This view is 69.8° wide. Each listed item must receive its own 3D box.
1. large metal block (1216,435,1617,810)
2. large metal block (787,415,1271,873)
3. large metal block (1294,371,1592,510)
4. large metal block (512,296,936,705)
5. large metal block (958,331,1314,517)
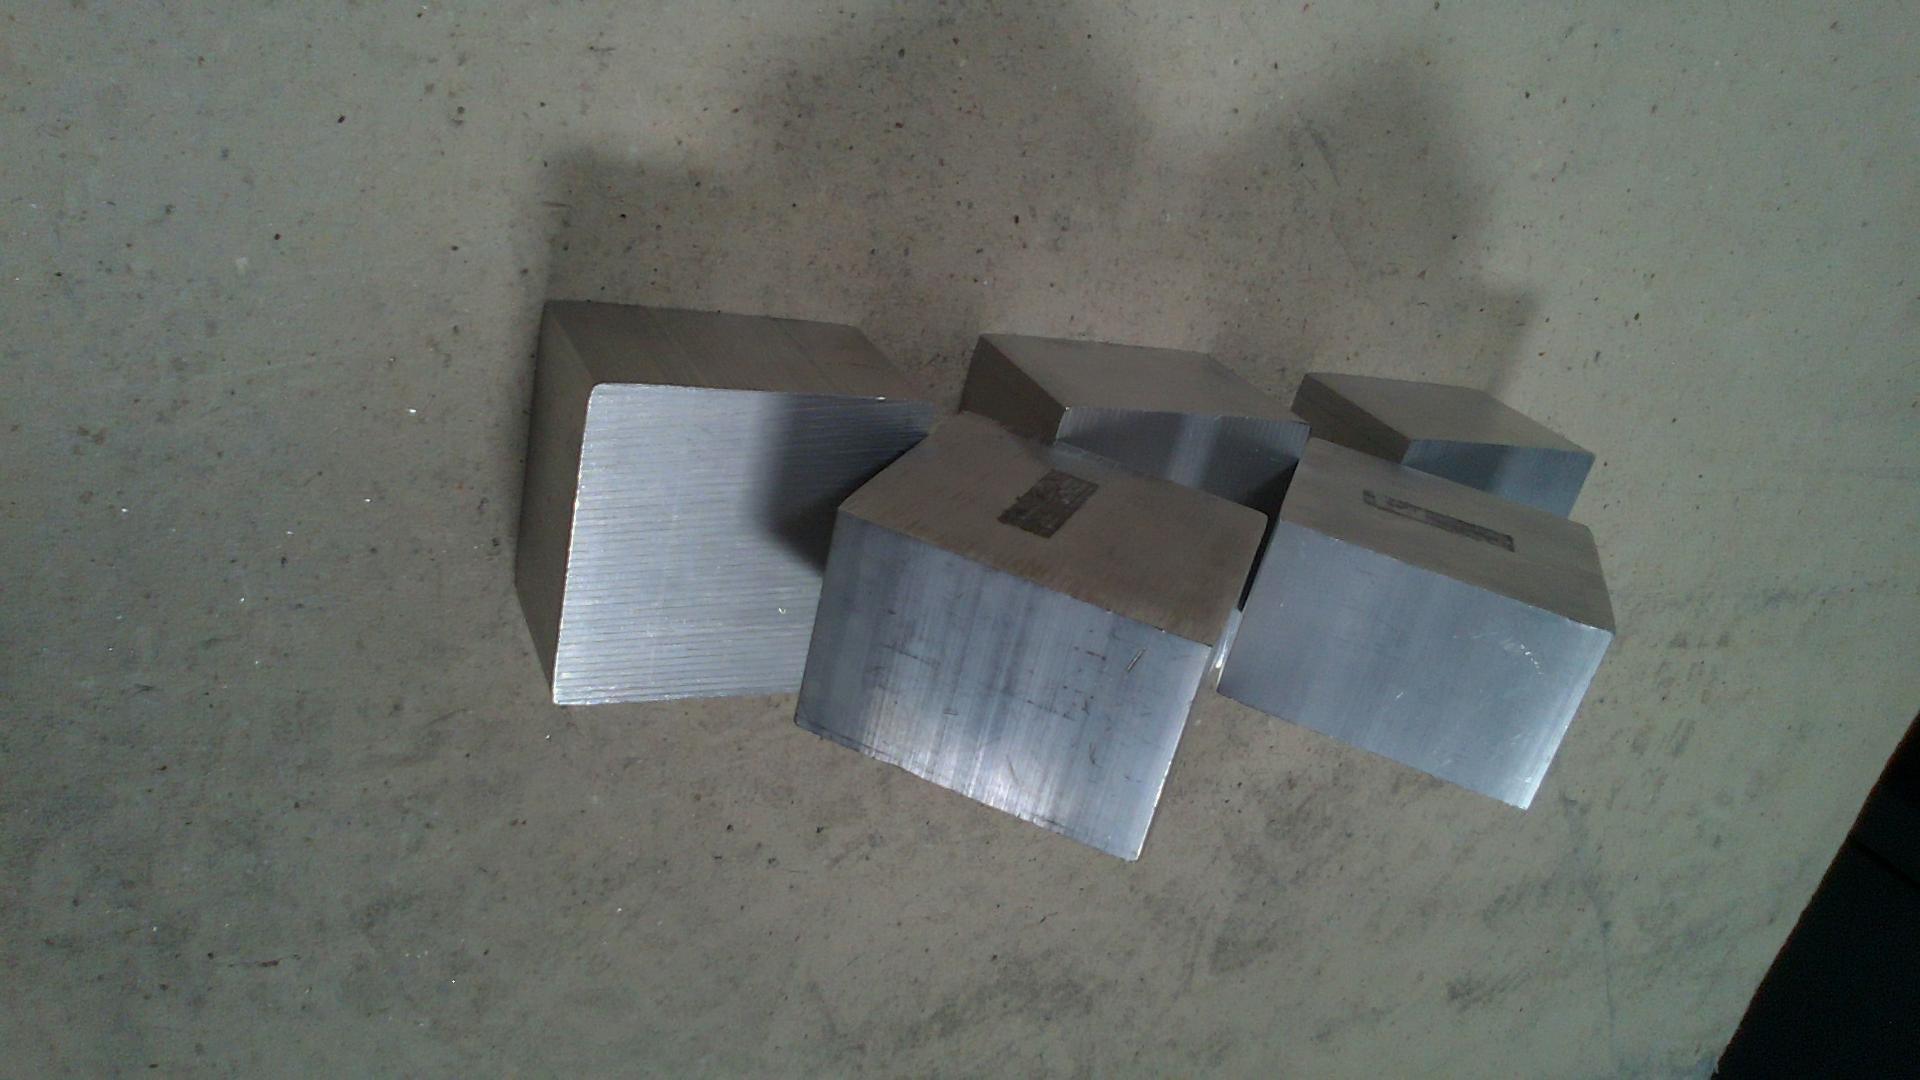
[{"bbox_3d":[0.120,0.017,0.368,0.080,0.080,0.050,20,114,12],"label":"large metal block"},{"bbox_3d":[0.018,0.018,0.310,0.080,0.080,0.050,-47,154,-61],"label":"large metal block"},{"bbox_3d":[0.143,-0.005,0.448,0.080,0.050,0.080,1,118,-29],"label":"large metal block"},{"bbox_3d":[-0.060,-0.009,0.335,0.080,0.050,0.080,0,118,-28],"label":"large metal block"},{"bbox_3d":[0.041,-0.009,0.390,0.080,0.050,0.080,1,118,-29],"label":"large metal block"}]
